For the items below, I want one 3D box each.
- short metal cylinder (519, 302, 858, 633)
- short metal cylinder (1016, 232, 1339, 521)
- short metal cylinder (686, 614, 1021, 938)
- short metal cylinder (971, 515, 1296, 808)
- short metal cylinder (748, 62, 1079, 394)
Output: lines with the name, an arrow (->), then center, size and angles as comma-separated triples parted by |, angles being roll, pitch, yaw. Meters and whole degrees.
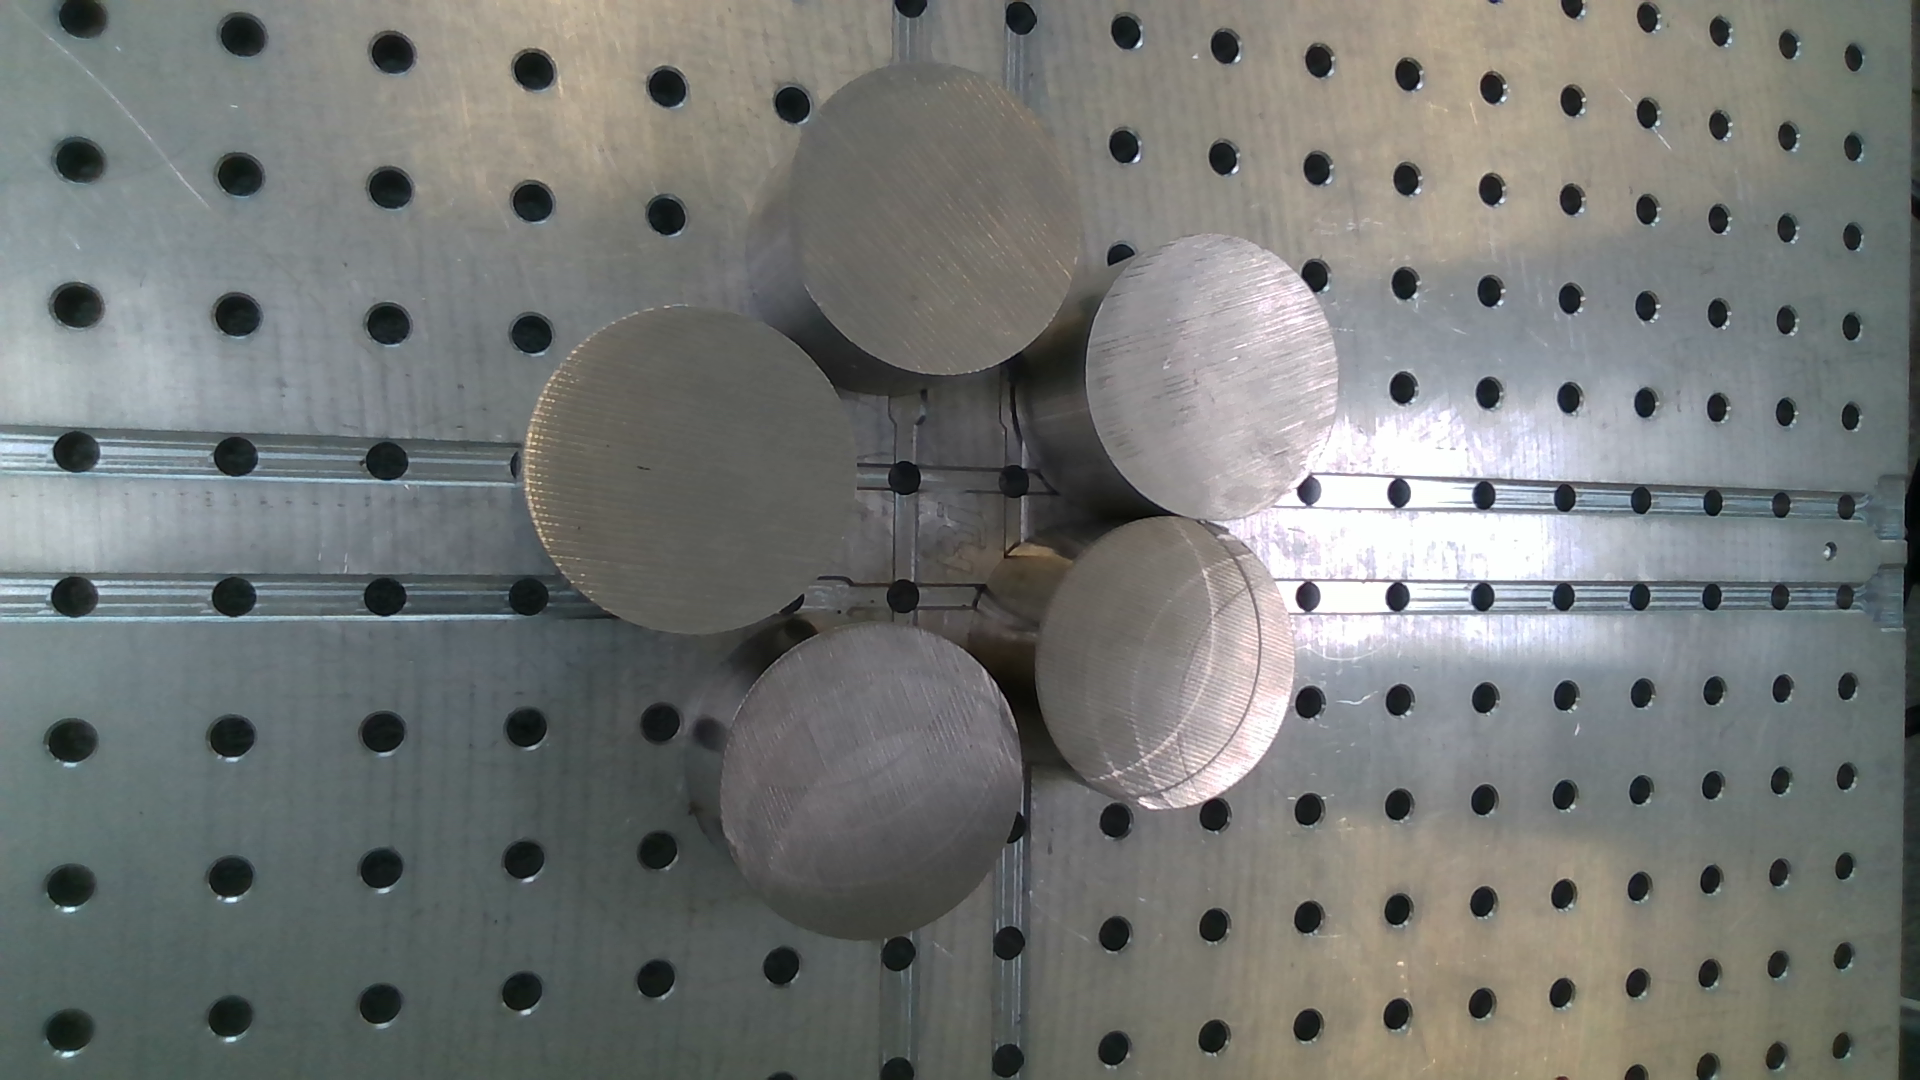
short metal cylinder -> -0.072, -0.017, 0.355 | 0.080, 0.050, 0.080 | 0, 89, -21
short metal cylinder -> 0.063, -0.045, 0.406 | 0.080, 0.050, 0.080 | 0, 90, -20
short metal cylinder -> -0.030, 0.060, 0.371 | 0.080, 0.050, 0.080 | 0, 90, -19
short metal cylinder -> 0.049, 0.033, 0.400 | 0.080, 0.050, 0.080 | 0, 90, -20
short metal cylinder -> -0.014, -0.083, 0.377 | 0.080, 0.050, 0.080 | 0, 90, -20
